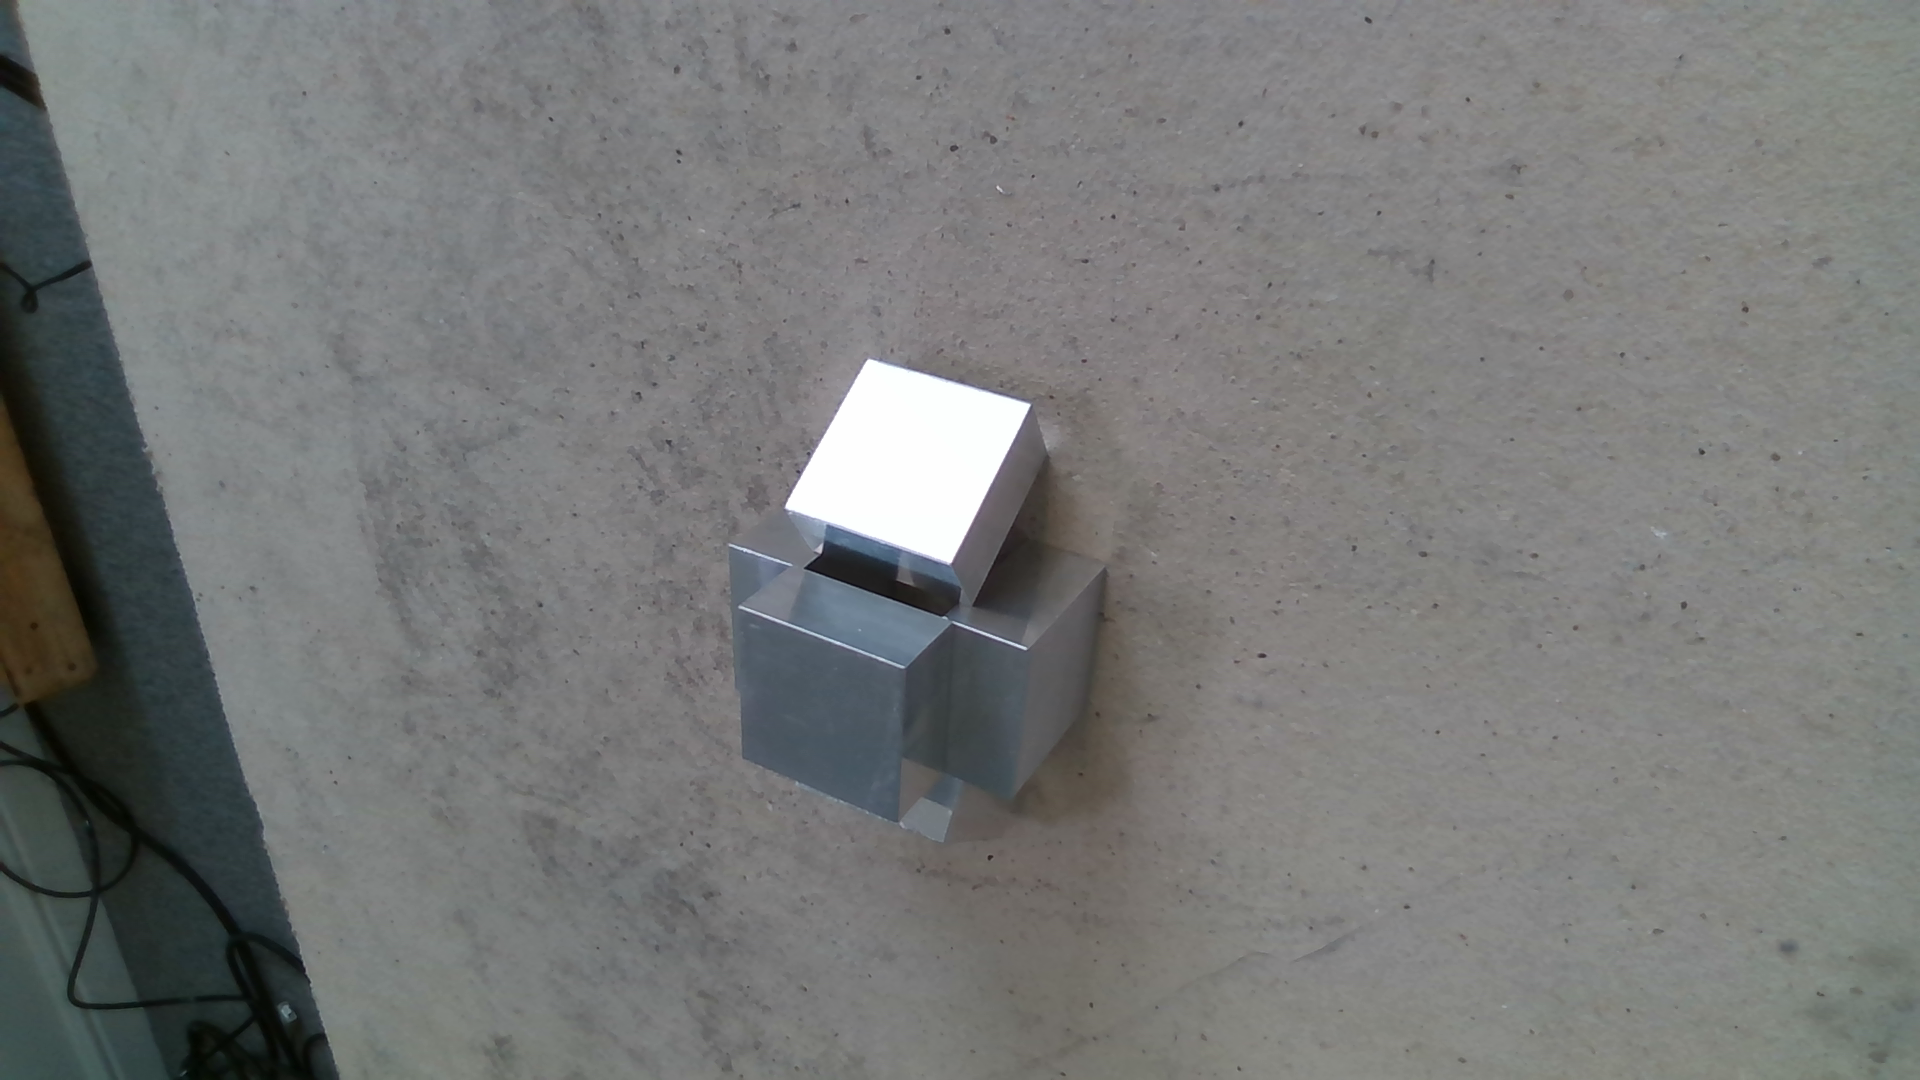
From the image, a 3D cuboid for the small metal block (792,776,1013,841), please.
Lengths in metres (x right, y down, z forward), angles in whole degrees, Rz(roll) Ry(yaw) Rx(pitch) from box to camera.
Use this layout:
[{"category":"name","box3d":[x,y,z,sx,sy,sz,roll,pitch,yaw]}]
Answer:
[{"category":"small metal block","box3d":[-0.014,0.070,0.417,0.050,0.050,0.025,16,87,24]}]

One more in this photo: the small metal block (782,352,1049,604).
[{"category":"small metal block","box3d":[-0.011,-0.017,0.368,0.050,0.050,0.025,18,159,23]}]

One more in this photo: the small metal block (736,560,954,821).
[{"category":"small metal block","box3d":[-0.031,0.039,0.366,0.050,0.025,0.050,18,123,23]}]

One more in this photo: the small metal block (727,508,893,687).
[{"category":"small metal block","box3d":[-0.043,0.015,0.408,0.025,0.050,0.050,18,123,23]}]

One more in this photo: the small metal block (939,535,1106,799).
[{"category":"small metal block","box3d":[0.016,0.034,0.382,0.025,0.050,0.050,19,124,23]}]
